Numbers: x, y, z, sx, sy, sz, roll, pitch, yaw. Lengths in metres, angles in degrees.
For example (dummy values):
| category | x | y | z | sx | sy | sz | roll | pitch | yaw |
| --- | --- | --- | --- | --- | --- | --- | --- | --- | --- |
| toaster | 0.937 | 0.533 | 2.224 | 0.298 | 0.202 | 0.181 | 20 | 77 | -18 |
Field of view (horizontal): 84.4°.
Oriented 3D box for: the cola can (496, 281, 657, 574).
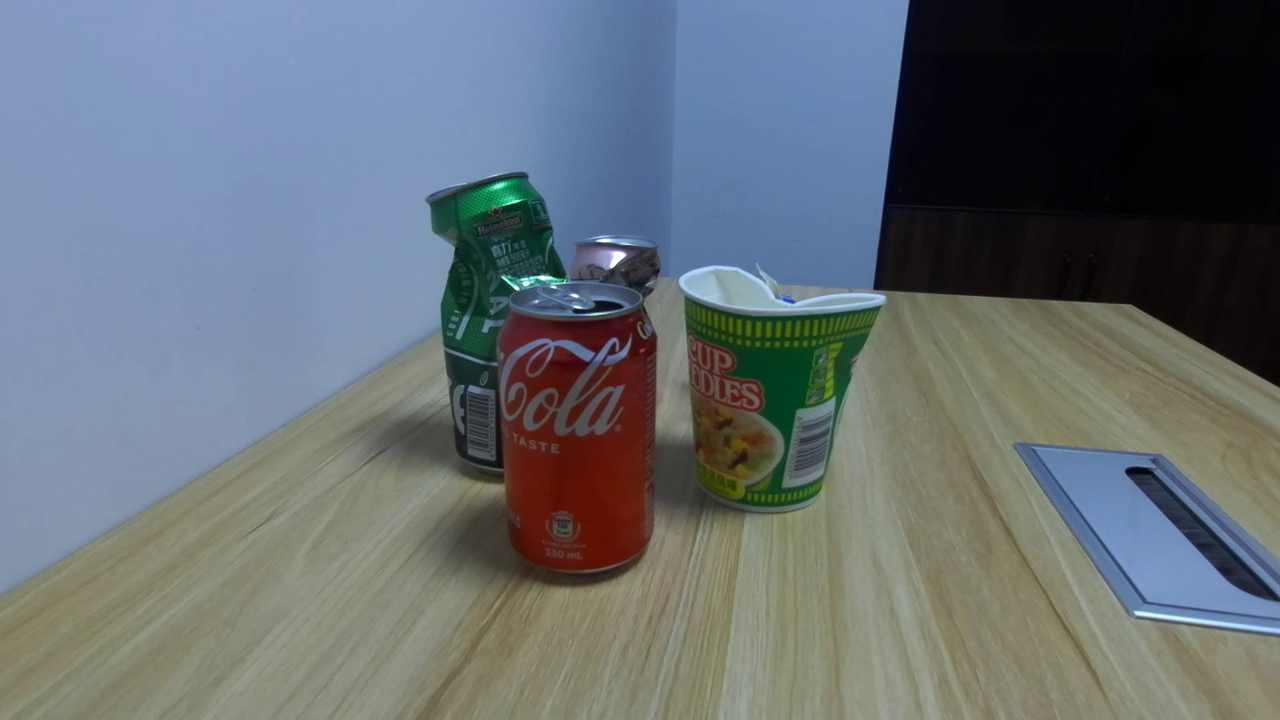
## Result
| category | x | y | z | sx | sy | sz | roll | pitch | yaw |
| --- | --- | --- | --- | --- | --- | --- | --- | --- | --- |
| cola can | -0.032 | 0.041 | 0.346 | 0.068 | 0.120 | 0.068 | -3 | 0 | 0 |

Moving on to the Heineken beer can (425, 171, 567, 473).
| category | x | y | z | sx | sy | sz | roll | pitch | yaw |
| --- | --- | --- | --- | --- | --- | --- | --- | --- | --- |
| Heineken beer can | -0.071 | -0.018 | 0.382 | 0.078 | 0.159 | 0.067 | -3 | 10 | 11 |

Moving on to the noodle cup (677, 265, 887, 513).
| category | x | y | z | sx | sy | sz | roll | pitch | yaw |
| --- | --- | --- | --- | --- | --- | --- | --- | --- | --- |
| noodle cup | 0.060 | 0.015 | 0.362 | 0.087 | 0.109 | 0.093 | -10 | 22 | -28 |
